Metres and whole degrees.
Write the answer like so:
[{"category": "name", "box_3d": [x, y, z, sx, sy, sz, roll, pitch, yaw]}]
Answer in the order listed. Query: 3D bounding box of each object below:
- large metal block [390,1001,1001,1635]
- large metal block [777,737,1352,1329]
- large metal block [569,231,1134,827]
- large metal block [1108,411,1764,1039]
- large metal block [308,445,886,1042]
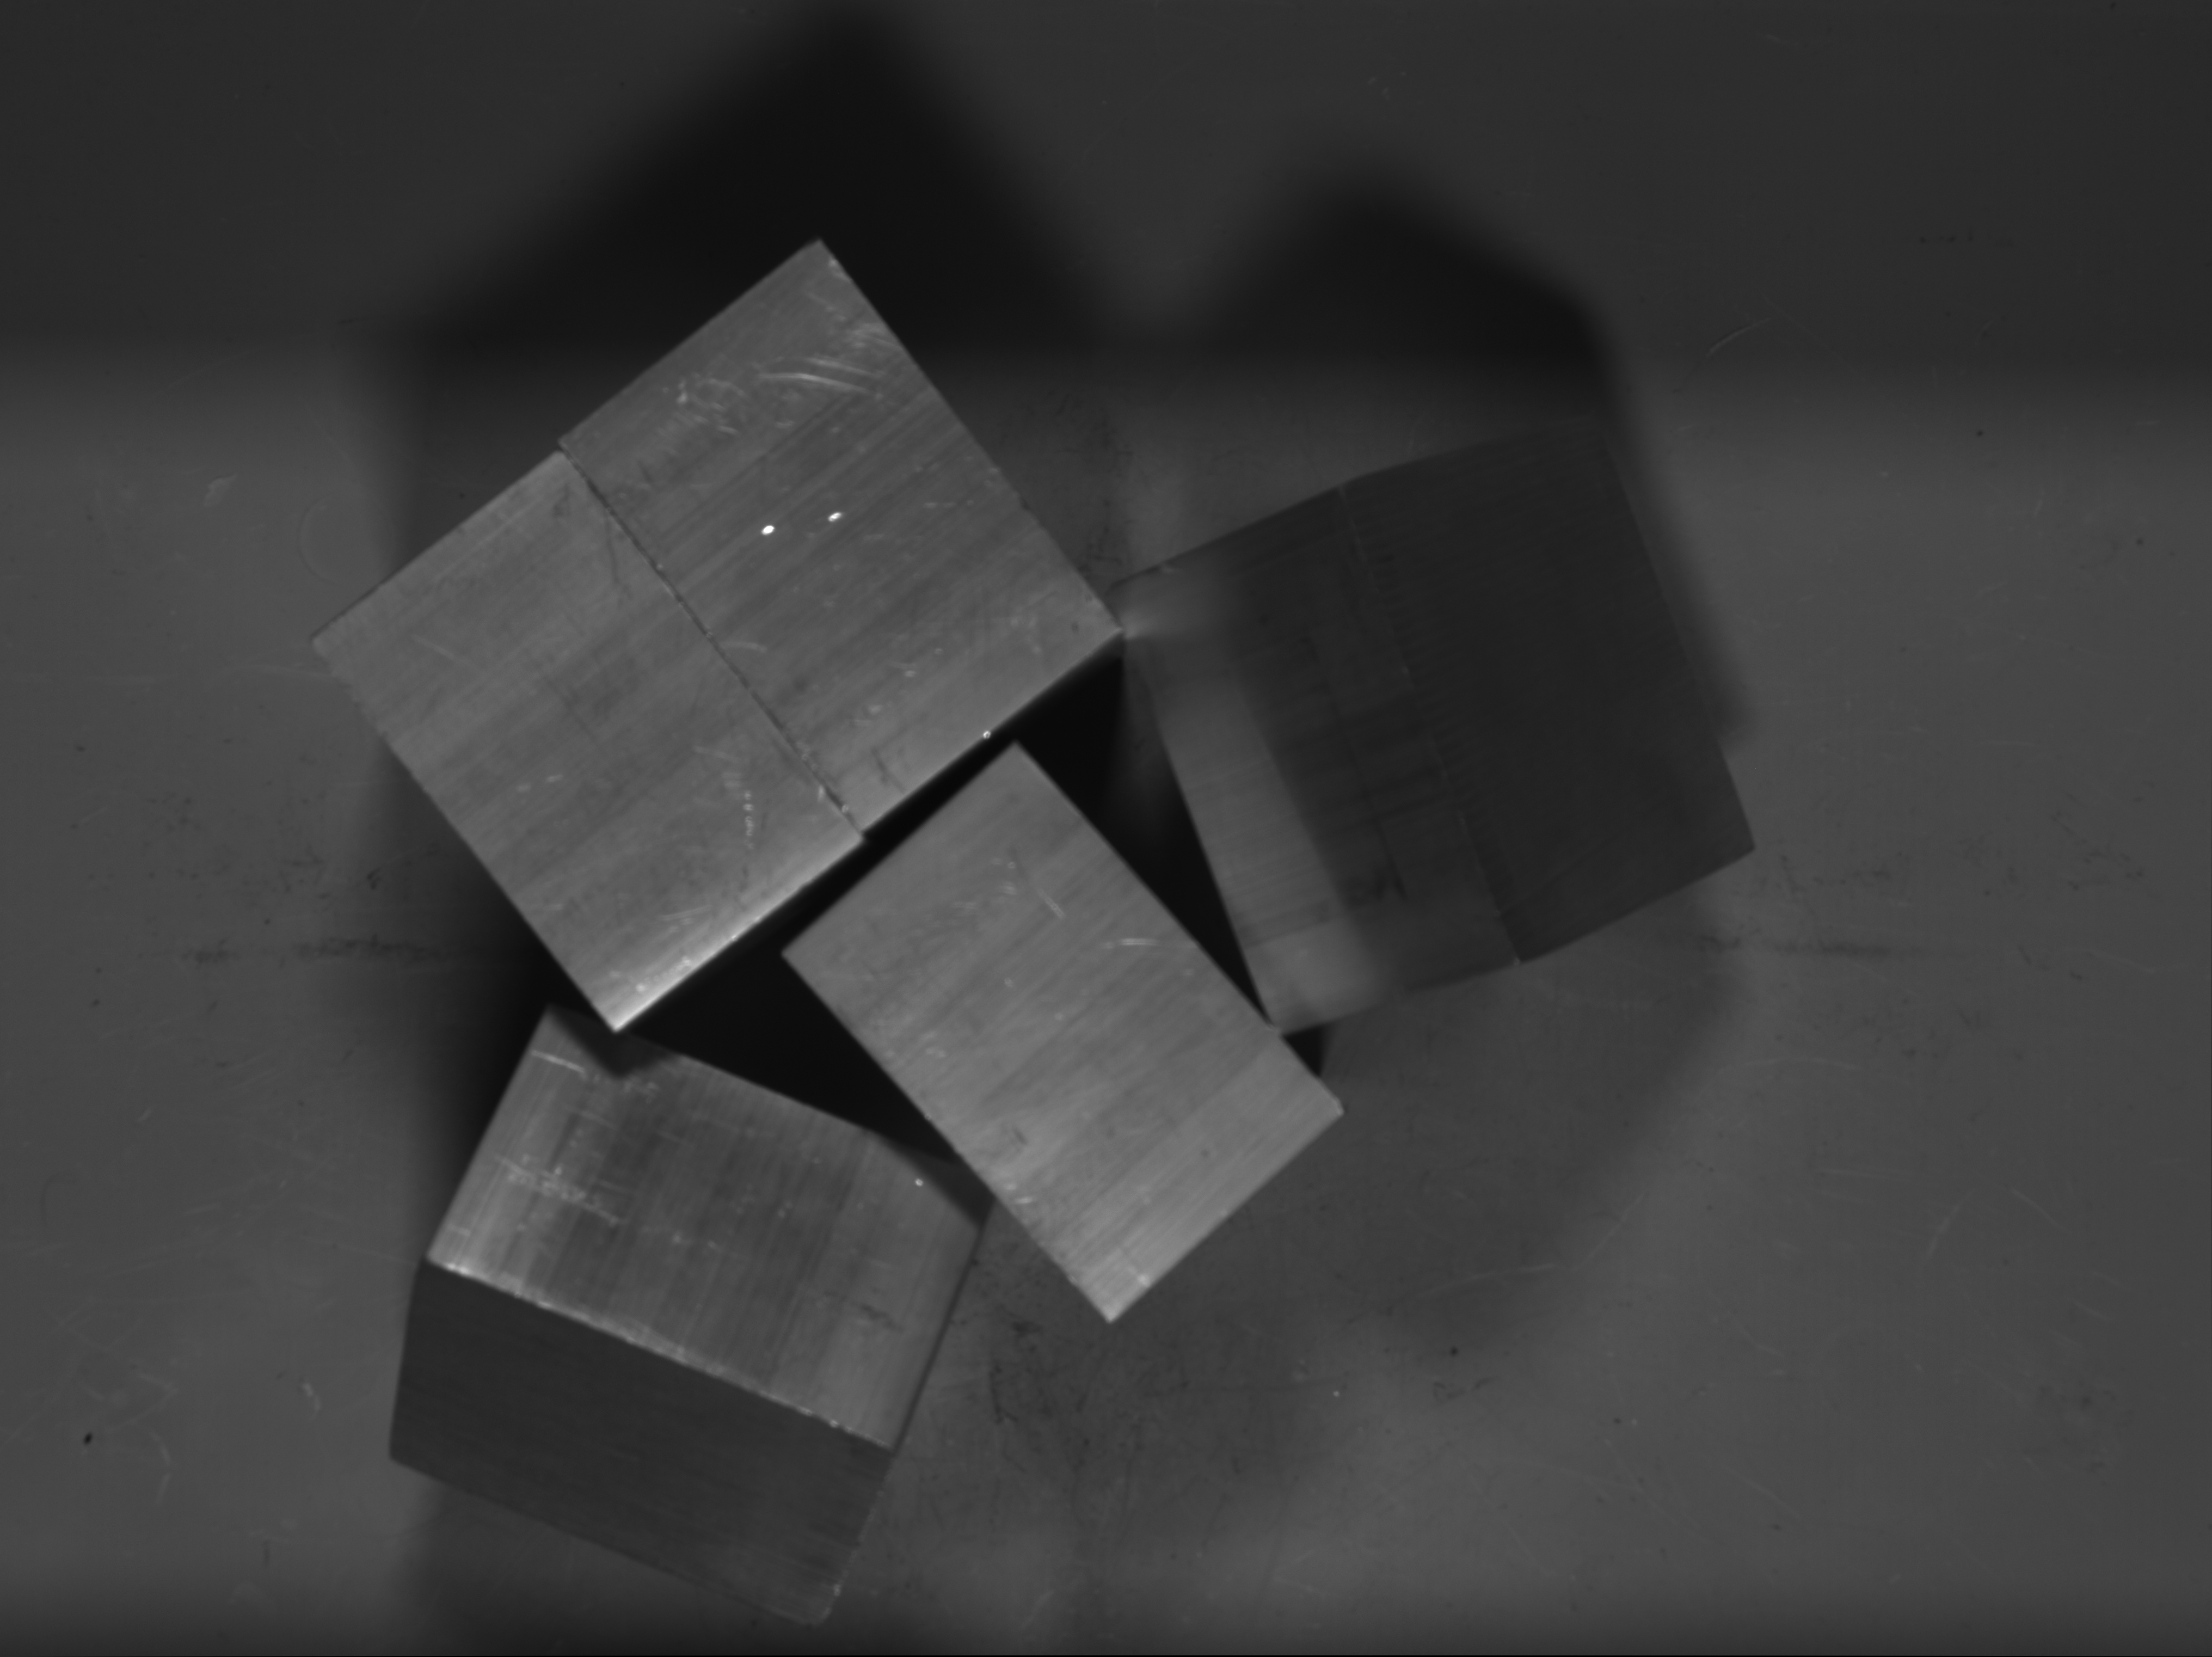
[{"category": "large metal block", "box_3d": [-0.069, 0.083, 0.609, 0.080, 0.080, 0.050, 22, 55, 0]}, {"category": "large metal block", "box_3d": [-0.007, 0.032, 0.616, 0.050, 0.080, 0.080, -42, 90, 0]}, {"category": "large metal block", "box_3d": [-0.040, -0.047, 0.616, 0.050, 0.080, 0.080, -39, 90, 0]}, {"category": "large metal block", "box_3d": [0.056, -0.018, 0.611, 0.050, 0.080, 0.080, -21, 90, 40]}, {"category": "large metal block", "box_3d": [-0.081, -0.013, 0.616, 0.050, 0.080, 0.080, -37, 90, 0]}]
